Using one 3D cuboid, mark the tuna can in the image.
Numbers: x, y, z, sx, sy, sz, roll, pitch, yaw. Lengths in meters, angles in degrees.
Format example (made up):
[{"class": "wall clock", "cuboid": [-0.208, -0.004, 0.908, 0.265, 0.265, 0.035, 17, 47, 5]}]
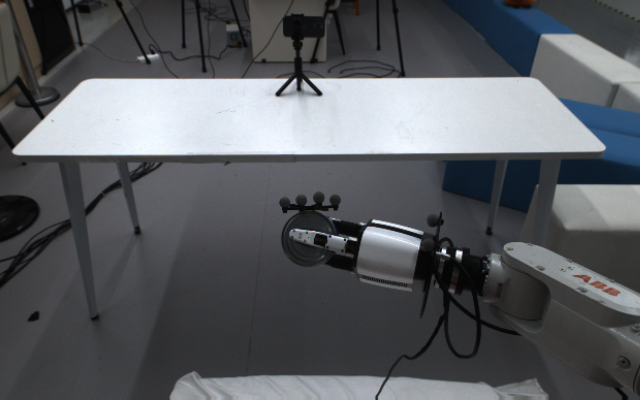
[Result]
[{"class": "tuna can", "cuboid": [-0.012, 0.064, 0.739, 0.085, 0.085, 0.034, 10, -6, 11]}]
